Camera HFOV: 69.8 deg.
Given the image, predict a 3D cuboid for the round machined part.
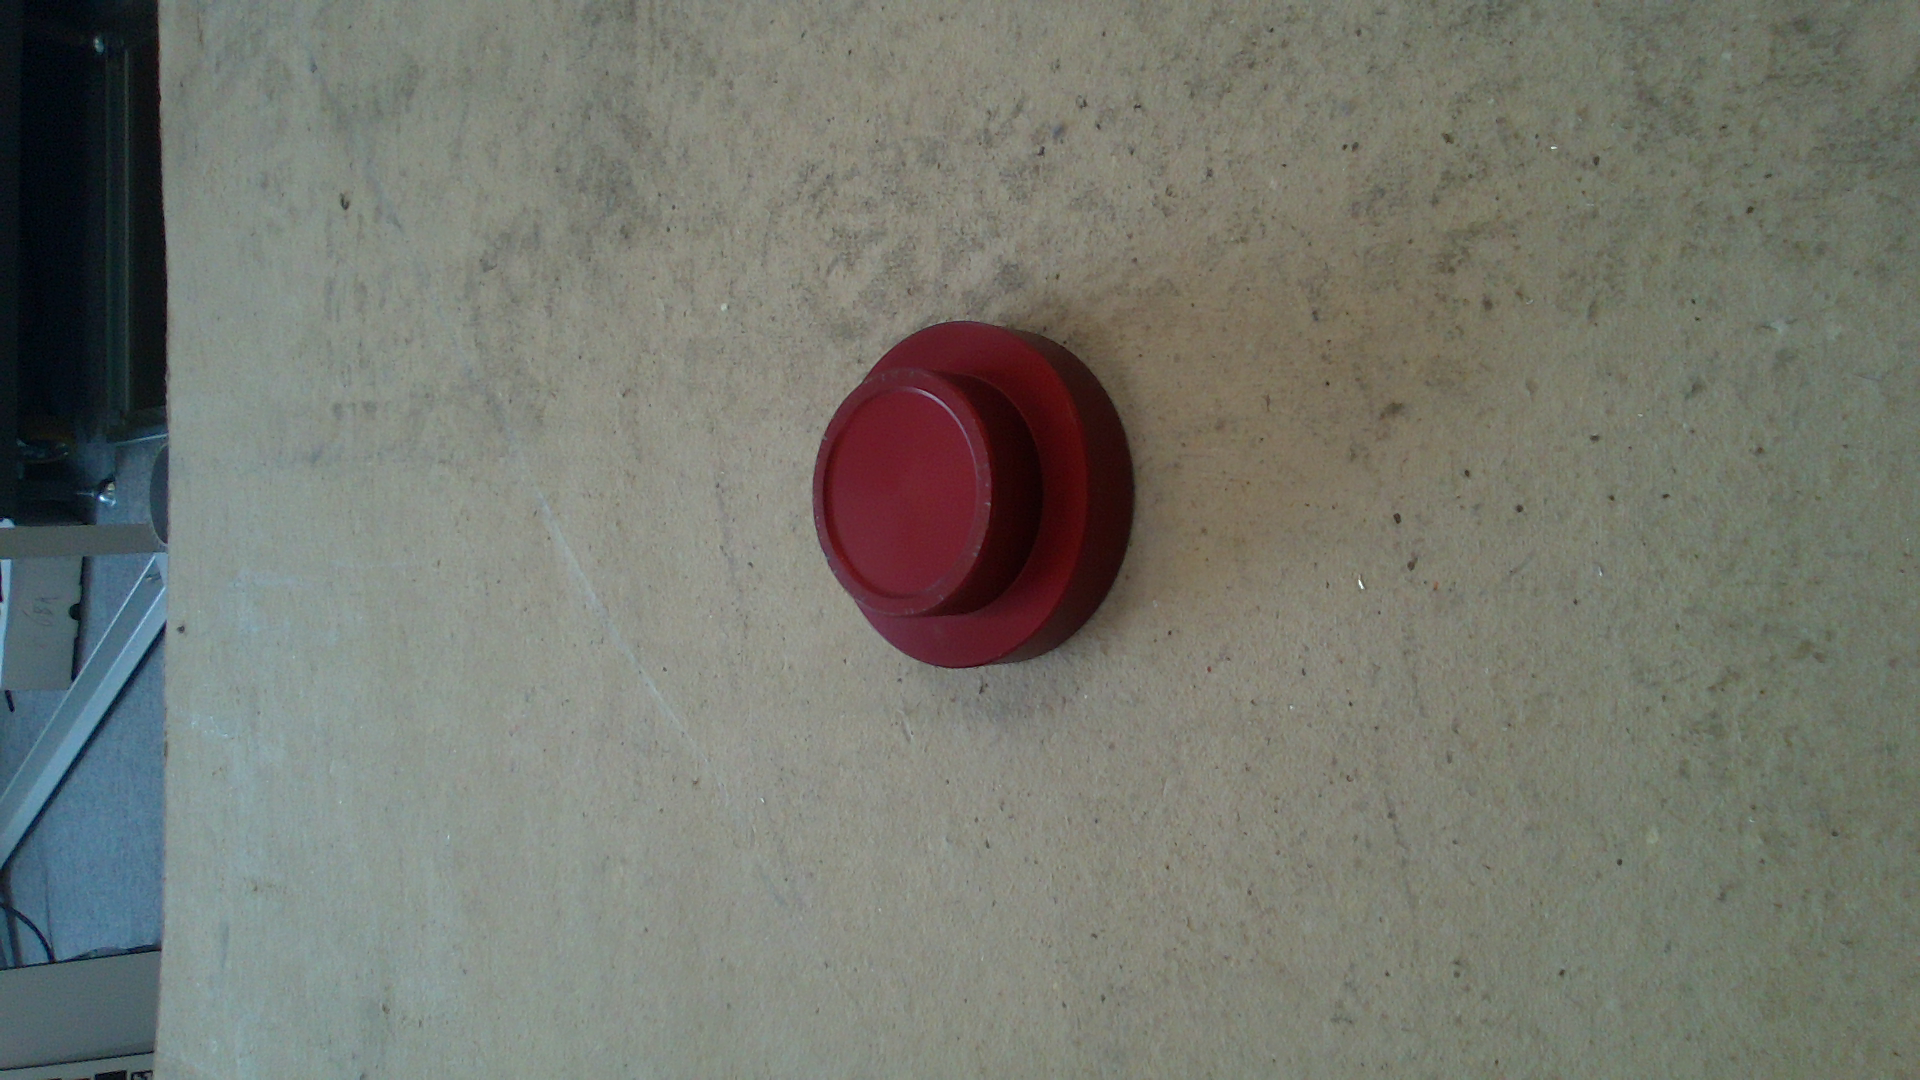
[{"bbox_3d":[-0.003,-0.013,0.387,0.098,0.042,0.098,0,90,40],"label":"round machined part"}]
